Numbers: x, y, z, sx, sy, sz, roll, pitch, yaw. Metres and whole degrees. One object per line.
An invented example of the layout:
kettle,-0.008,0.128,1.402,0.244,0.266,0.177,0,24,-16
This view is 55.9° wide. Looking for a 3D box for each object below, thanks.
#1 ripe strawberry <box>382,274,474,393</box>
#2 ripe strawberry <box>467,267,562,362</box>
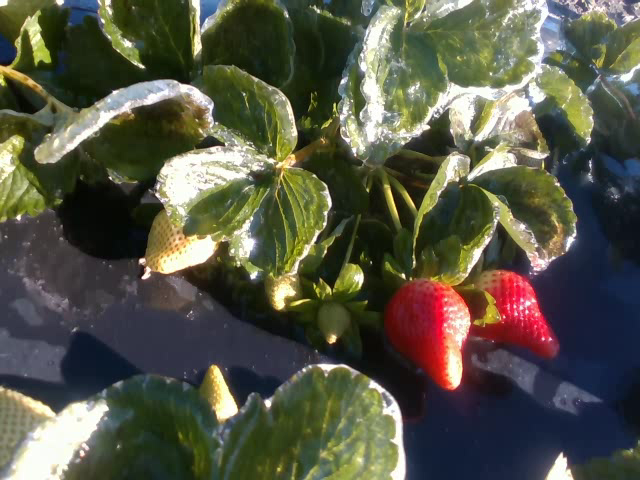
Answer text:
ripe strawberry,0.067,0.052,0.318,0.052,0.070,0.040,16,-33,-34
ripe strawberry,0.115,0.040,0.341,0.043,0.059,0.040,-42,1,-36
